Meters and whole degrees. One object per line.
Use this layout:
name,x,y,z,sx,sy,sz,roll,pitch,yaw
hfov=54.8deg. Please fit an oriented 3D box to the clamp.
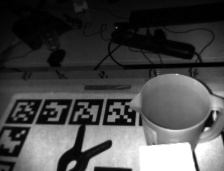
clamp,-0.087,0.182,0.602,0.120,0.037,0.166,26,60,22

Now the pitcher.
pitcher,0.143,0.080,0.489,0.188,0.245,0.133,-6,46,13

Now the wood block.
wood block,0.111,0.183,0.427,0.089,0.208,0.090,-4,49,7
